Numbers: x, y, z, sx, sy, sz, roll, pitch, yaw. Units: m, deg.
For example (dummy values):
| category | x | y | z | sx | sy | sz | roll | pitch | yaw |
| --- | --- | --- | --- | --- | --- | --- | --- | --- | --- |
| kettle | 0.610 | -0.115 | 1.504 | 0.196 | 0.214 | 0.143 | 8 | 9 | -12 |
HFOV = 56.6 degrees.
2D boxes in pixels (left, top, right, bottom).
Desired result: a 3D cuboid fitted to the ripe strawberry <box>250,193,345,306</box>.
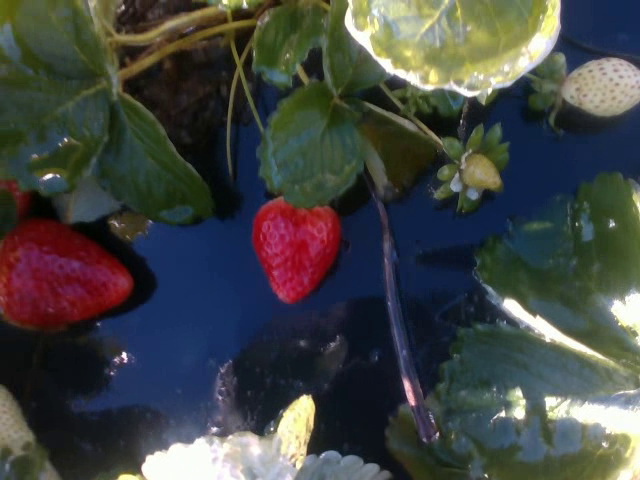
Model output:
| category | x | y | z | sx | sy | sz | roll | pitch | yaw |
| --- | --- | --- | --- | --- | --- | --- | --- | --- | --- |
| ripe strawberry | -0.008 | 0.004 | 0.219 | 0.039 | 0.047 | 0.040 | 3 | -3 | -3 |

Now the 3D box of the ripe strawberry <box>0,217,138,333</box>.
| category | x | y | z | sx | sy | sz | roll | pitch | yaw |
| --- | --- | --- | --- | --- | --- | --- | --- | --- | --- |
| ripe strawberry | -0.100 | 0.017 | 0.230 | 0.056 | 0.044 | 0.040 | 13 | 8 | -5 |
